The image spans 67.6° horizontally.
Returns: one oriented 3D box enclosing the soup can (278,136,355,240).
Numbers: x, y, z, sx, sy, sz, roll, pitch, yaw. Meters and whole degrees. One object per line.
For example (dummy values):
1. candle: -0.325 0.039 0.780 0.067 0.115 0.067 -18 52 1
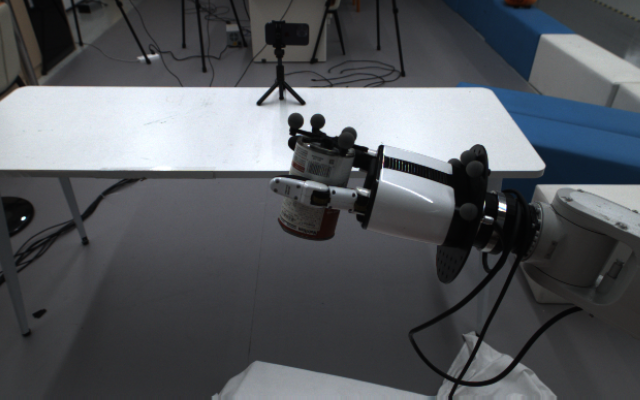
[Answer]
1. soup can: -0.003 -0.014 0.544 0.067 0.101 0.067 13 18 -4
